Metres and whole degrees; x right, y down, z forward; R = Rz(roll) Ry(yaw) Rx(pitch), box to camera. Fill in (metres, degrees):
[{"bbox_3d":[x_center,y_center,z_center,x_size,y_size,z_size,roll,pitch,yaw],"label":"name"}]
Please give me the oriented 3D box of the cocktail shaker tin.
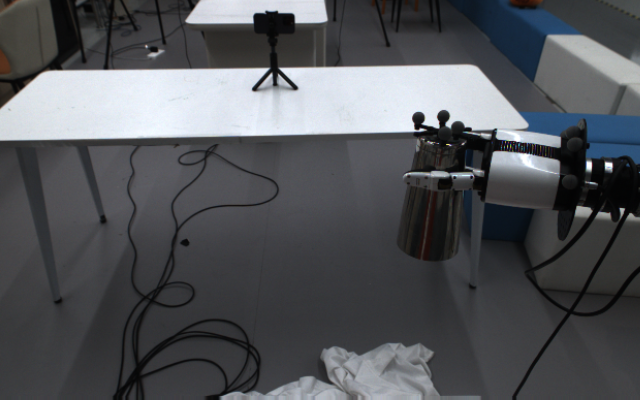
[{"bbox_3d":[0.167,-0.013,0.698,0.093,0.170,0.093,1,27,-1],"label":"cocktail shaker tin"}]
